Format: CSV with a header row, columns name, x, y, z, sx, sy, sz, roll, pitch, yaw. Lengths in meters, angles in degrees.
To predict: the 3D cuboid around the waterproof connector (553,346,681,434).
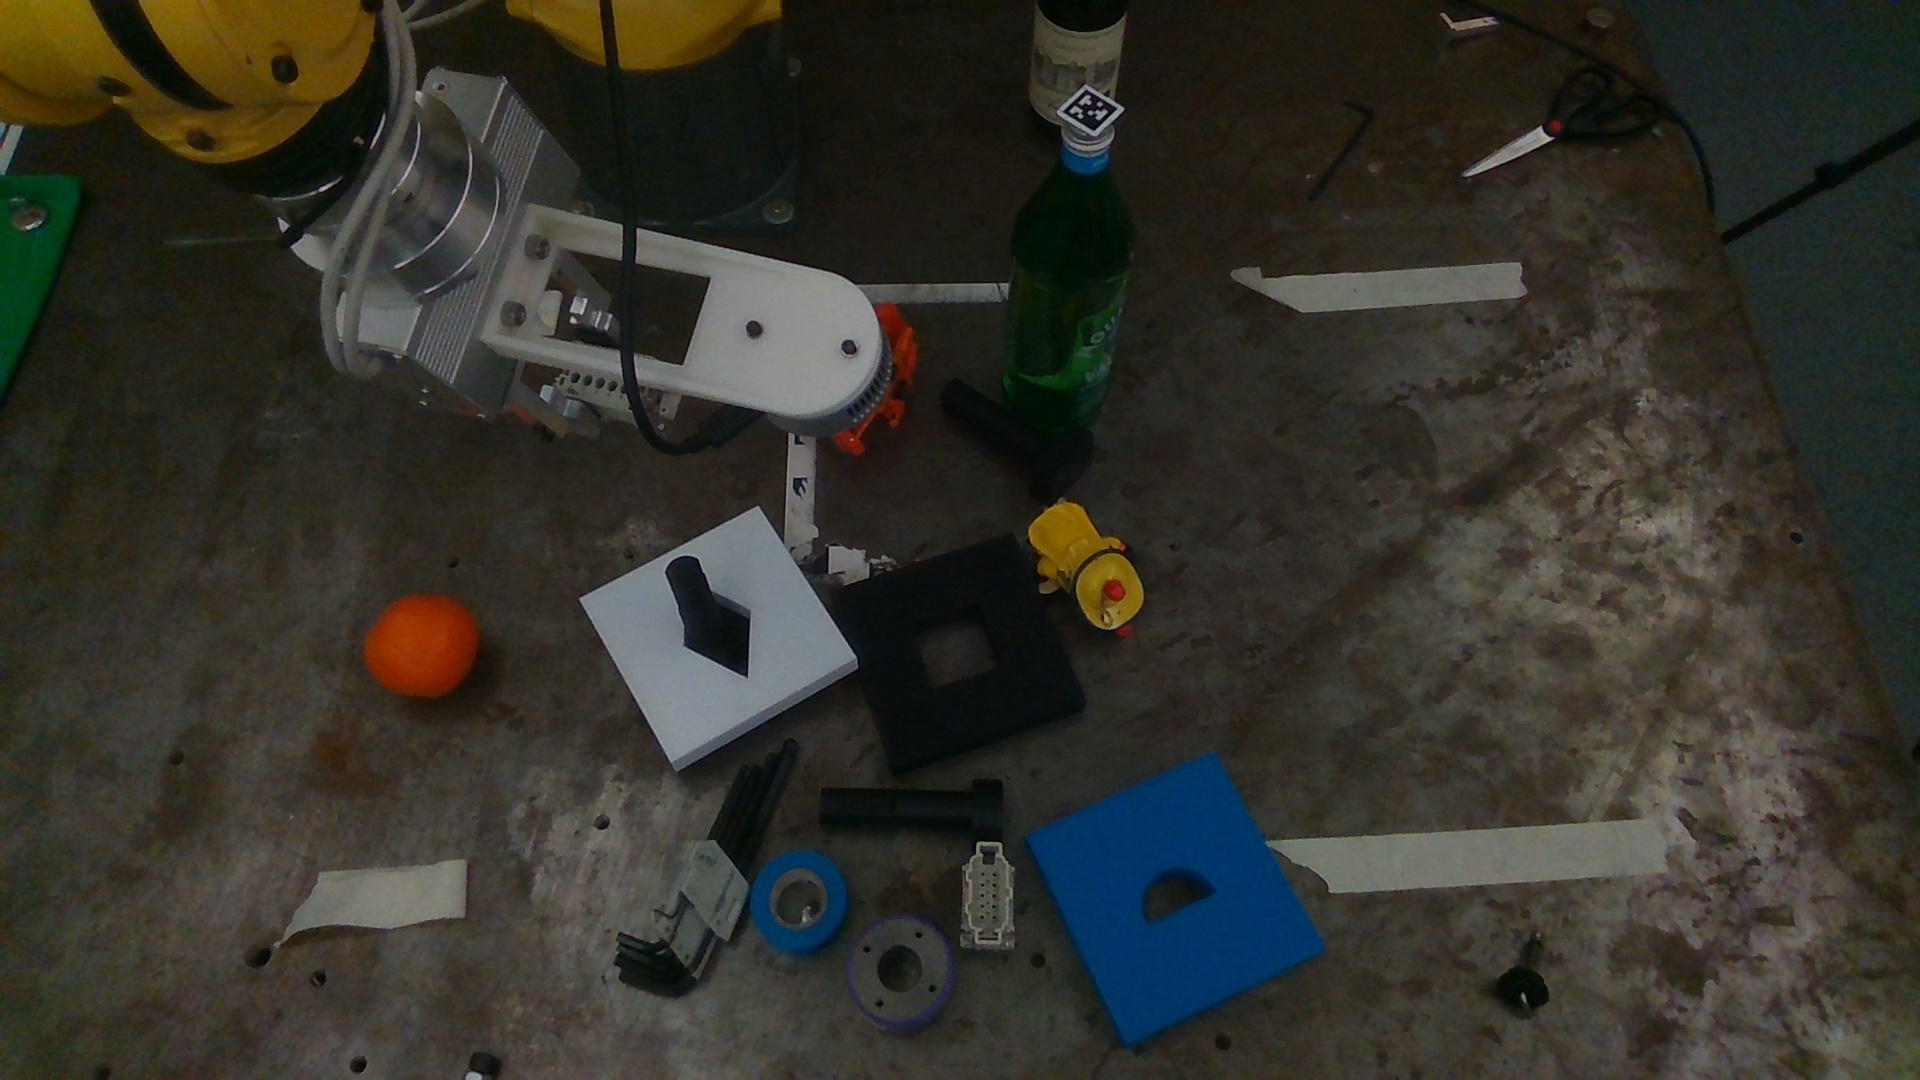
name,x,y,z,sx,sy,sz,roll,pitch,yaw
waterproof connector,-0.181,-0.078,0.731,0.069,0.038,0.036,9,78,20
